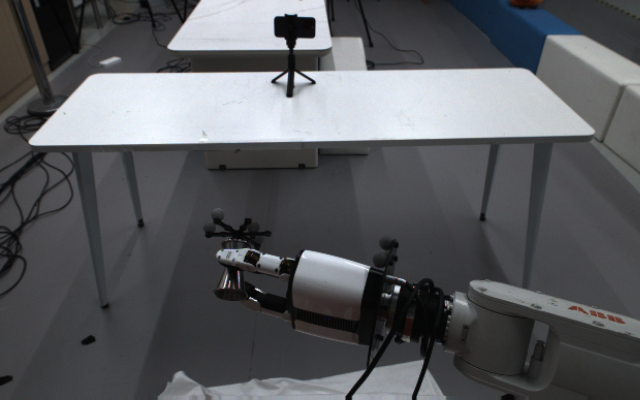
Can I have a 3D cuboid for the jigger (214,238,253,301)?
[{"bbox_3d":[-0.110,0.087,0.615,0.043,0.043,0.071,2,59,0],"label":"jigger"}]
